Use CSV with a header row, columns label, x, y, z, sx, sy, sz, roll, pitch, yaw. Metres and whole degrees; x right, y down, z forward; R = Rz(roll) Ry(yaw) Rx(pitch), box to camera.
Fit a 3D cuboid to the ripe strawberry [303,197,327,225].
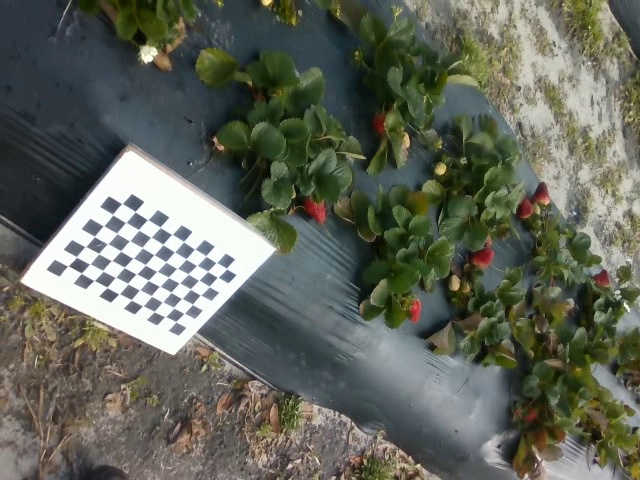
label,x,y,z,sx,sy,sz,roll,pitch,yaw
ripe strawberry,-0.001,-0.053,1.006,0.050,0.064,0.043,-20,35,-9
